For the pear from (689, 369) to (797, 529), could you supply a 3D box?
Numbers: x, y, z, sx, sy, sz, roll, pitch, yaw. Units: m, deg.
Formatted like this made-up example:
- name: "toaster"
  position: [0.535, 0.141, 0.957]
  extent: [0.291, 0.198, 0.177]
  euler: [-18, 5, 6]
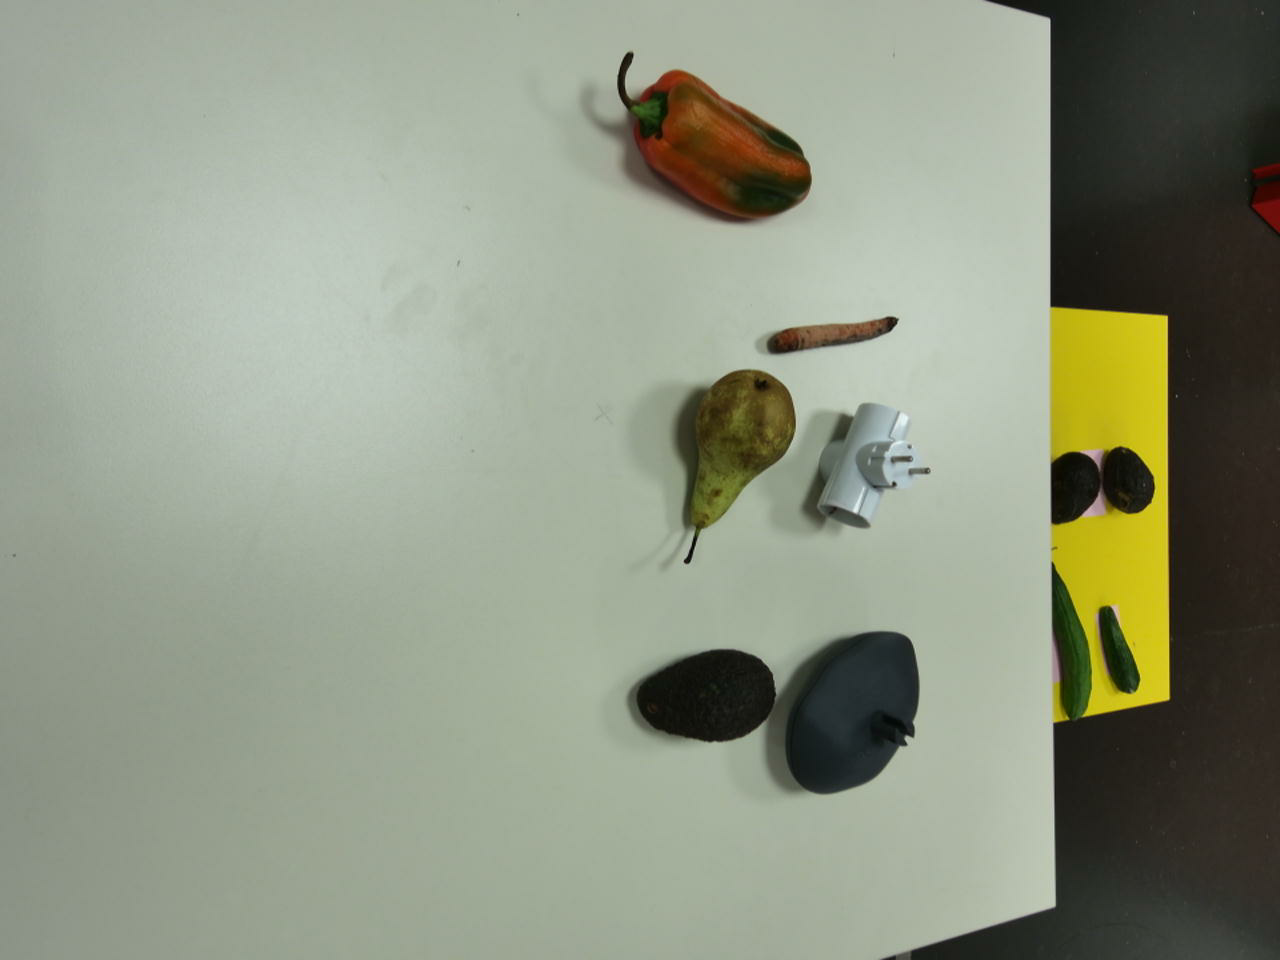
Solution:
- name: "pear"
  position: [0.073, -0.009, 0.731]
  extent: [0.071, 0.075, 0.144]
  euler: [9, 87, -28]
